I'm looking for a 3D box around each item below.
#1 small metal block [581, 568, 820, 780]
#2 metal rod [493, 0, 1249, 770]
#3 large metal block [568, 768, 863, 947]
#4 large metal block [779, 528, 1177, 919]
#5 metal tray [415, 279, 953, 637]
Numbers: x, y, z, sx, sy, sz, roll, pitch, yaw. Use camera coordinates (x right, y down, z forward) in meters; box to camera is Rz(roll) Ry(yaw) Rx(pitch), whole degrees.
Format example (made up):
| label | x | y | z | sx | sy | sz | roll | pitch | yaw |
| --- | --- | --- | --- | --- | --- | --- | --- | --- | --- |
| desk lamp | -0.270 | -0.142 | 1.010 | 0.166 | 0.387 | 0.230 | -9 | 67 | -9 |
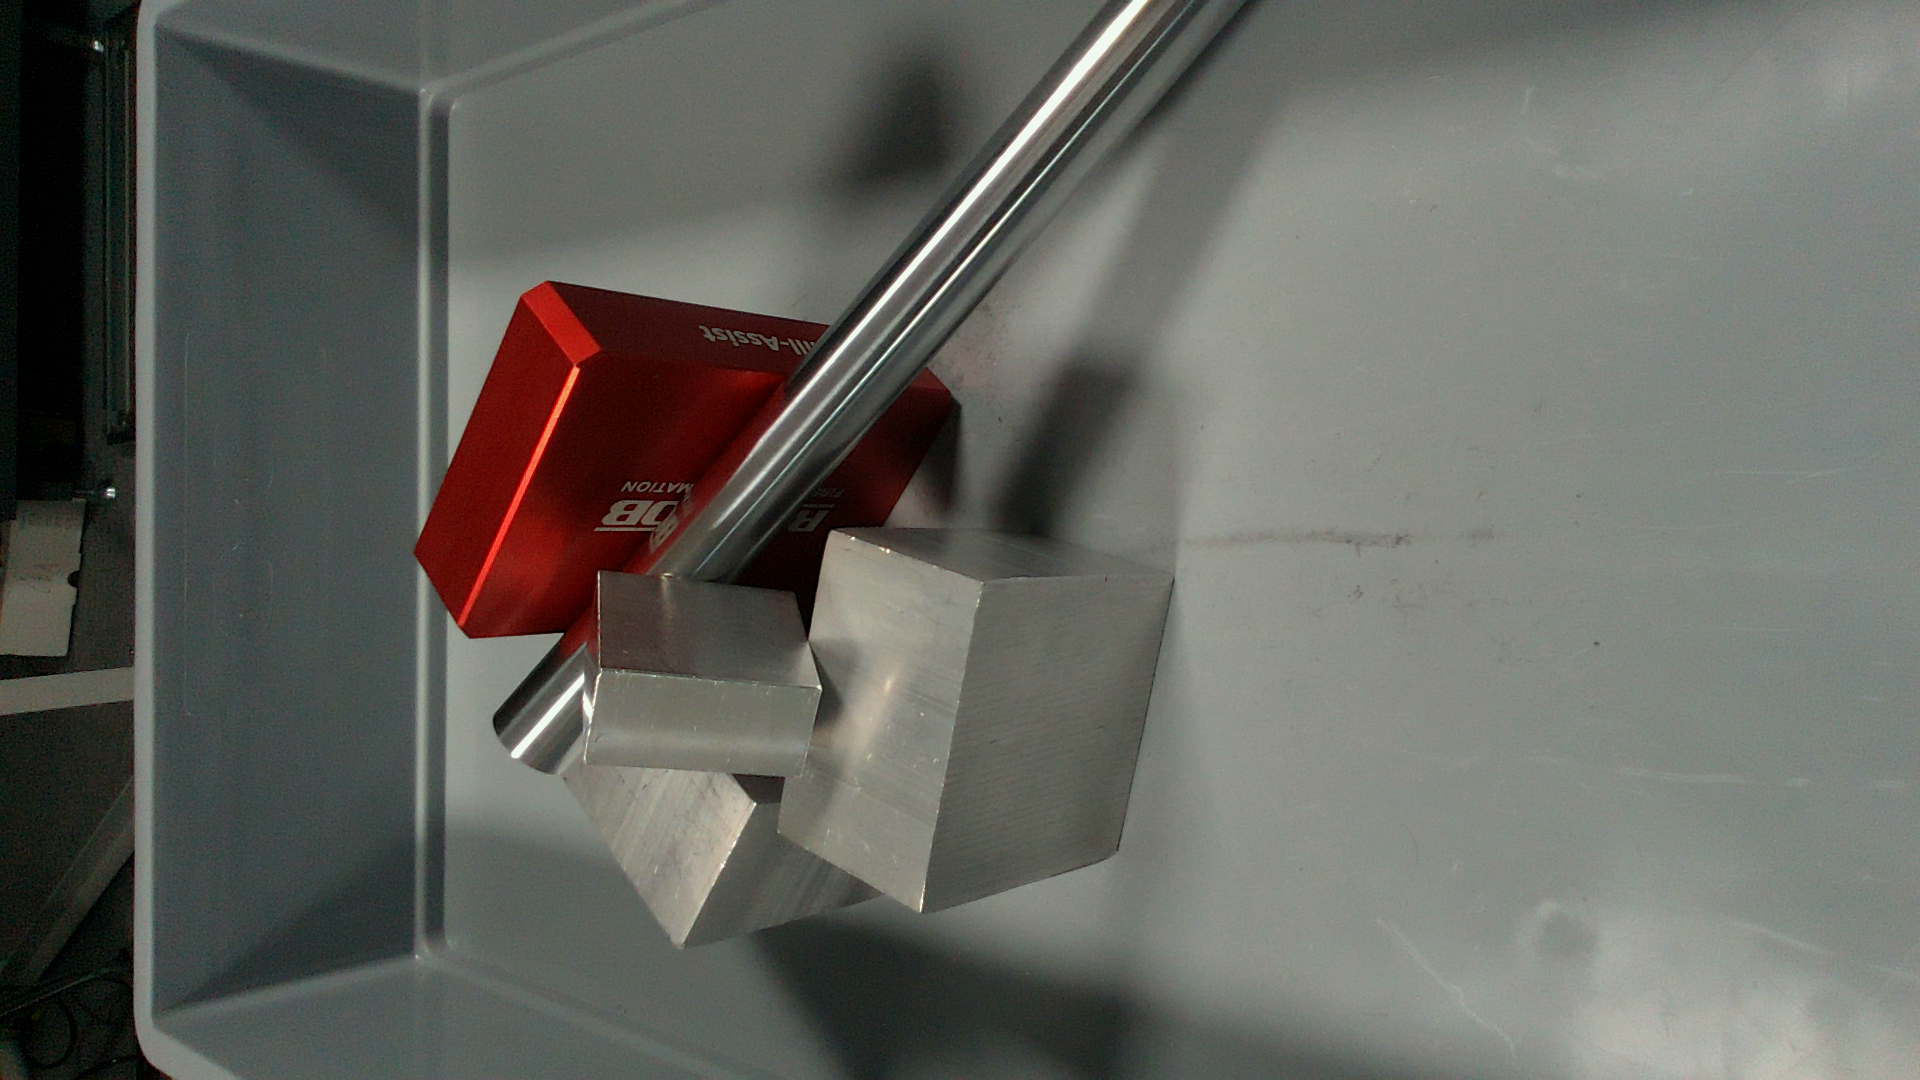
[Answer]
| label | x | y | z | sx | sy | sz | roll | pitch | yaw |
| --- | --- | --- | --- | --- | --- | --- | --- | --- | --- |
| small metal block | -0.064 | 0.032 | 0.334 | 0.050 | 0.050 | 0.025 | -118 | 39 | -61 |
| metal rod | -0.016 | -0.055 | 0.348 | 0.300 | 0.025 | 0.025 | -47 | 60 | 10 |
| large metal block | -0.061 | 0.065 | 0.411 | 0.080 | 0.080 | 0.050 | 44 | 117 | 31 |
| large metal block | 0.006 | 0.042 | 0.354 | 0.050 | 0.080 | 0.080 | 17 | 101 | 39 |
| metal tray | -0.072 | -0.019 | 0.385 | 0.030 | 0.131 | 0.090 | 48 | 120 | 30 |
